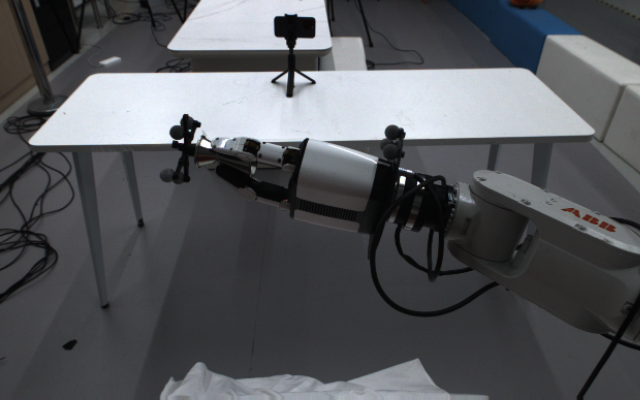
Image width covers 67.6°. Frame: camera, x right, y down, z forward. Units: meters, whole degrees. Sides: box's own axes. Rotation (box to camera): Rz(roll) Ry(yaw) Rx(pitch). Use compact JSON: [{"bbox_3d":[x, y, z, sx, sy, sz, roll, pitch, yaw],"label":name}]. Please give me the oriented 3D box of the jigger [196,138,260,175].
[{"bbox_3d":[-0.107,-0.056,0.583,0.071,0.043,0.043,9,35,1],"label":"jigger"}]
